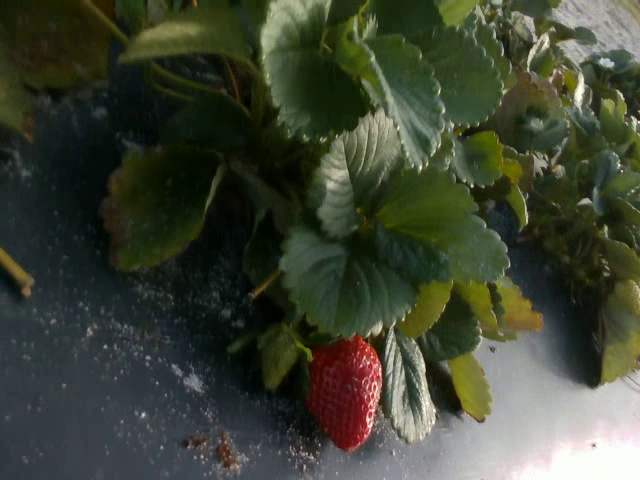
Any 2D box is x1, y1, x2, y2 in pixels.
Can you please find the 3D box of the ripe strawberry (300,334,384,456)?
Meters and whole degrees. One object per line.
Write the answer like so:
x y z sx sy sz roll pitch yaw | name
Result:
0.008 0.043 0.177 0.029 0.036 0.021 12 -32 -33 | ripe strawberry
